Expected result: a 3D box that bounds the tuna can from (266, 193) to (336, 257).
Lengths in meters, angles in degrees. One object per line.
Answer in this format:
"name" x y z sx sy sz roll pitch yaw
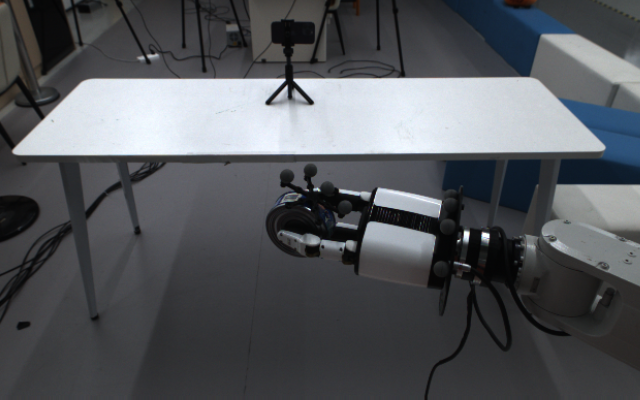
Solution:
"tuna can" -0.022 0.038 0.618 0.085 0.085 0.034 12 35 14
